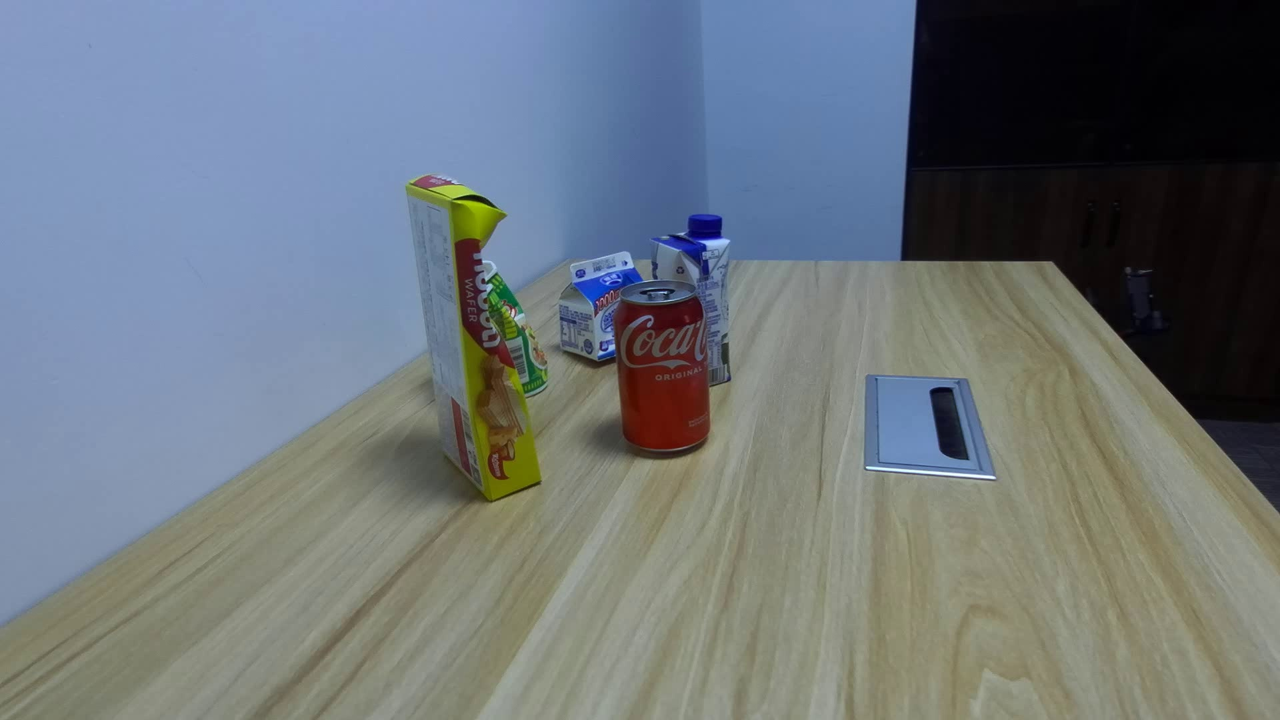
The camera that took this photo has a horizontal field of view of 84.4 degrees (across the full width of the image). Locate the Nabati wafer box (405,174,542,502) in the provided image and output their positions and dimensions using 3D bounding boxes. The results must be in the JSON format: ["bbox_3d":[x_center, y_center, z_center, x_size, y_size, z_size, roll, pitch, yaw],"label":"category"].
[{"bbox_3d":[-0.109,-0.016,0.468,0.042,0.204,0.106,-14,24,-28],"label":"Nabati wafer box"}]

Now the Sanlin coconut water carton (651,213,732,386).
[{"bbox_3d":[0.045,-0.049,0.605,0.061,0.144,0.060,-16,26,-25],"label":"Sanlin coconut water carton"}]

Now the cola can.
[{"bbox_3d":[0.017,0.004,0.511,0.068,0.120,0.068,-3,21,1],"label":"cola can"}]

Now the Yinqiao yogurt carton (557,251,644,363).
[{"bbox_3d":[-0.033,-0.058,0.712,0.078,0.094,0.070,-23,33,-29],"label":"Yinqiao yogurt carton"}]

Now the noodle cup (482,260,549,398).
[{"bbox_3d":[-0.125,-0.026,0.626,0.075,0.122,0.083,-2,30,27],"label":"noodle cup"}]
